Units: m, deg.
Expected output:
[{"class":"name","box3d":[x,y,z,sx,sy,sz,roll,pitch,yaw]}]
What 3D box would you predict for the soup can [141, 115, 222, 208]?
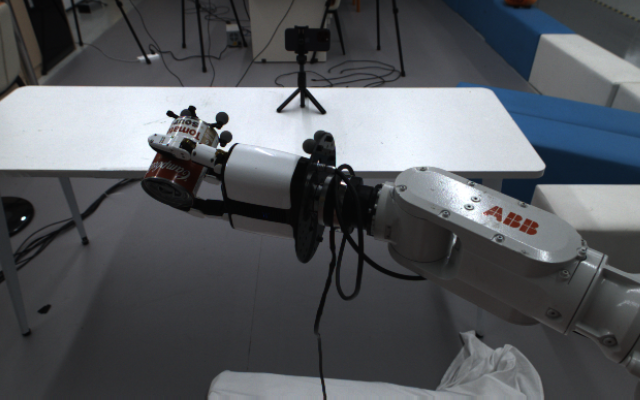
[{"class":"soup can","box3d":[-0.179,-0.049,0.631,0.067,0.067,0.101,9,60,10]}]
